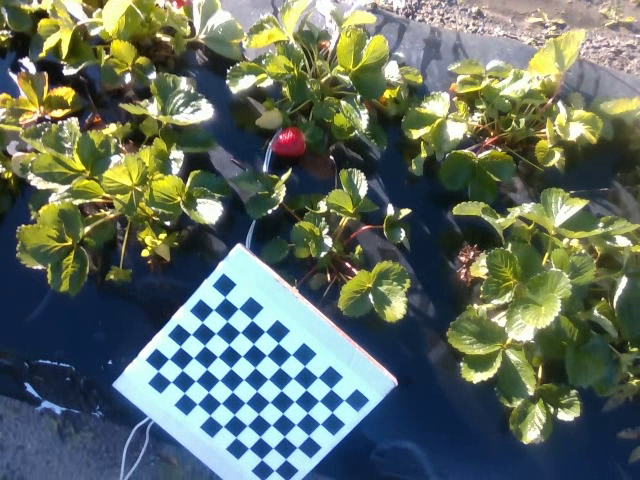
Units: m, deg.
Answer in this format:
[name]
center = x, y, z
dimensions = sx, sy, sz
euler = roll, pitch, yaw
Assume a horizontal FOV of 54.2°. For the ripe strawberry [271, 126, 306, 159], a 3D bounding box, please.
[ripe strawberry]
center = -0.050, -0.165, 1.014
dimensions = 0.080, 0.063, 0.040
euler = -26, 10, -34
